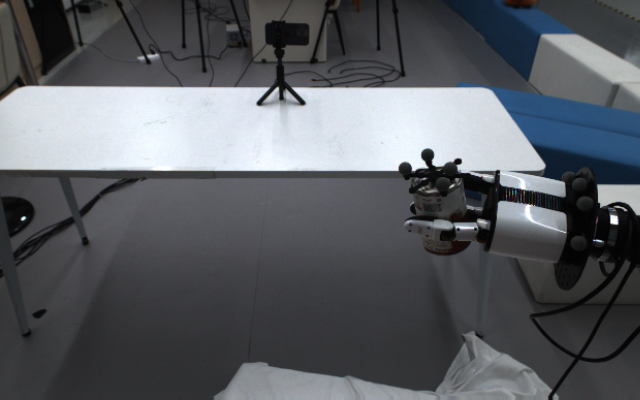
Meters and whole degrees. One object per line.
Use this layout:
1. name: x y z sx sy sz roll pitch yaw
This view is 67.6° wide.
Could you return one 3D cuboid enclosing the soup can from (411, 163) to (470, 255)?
1. soup can: 0.165 0.014 0.651 0.067 0.101 0.067 -13 31 8
